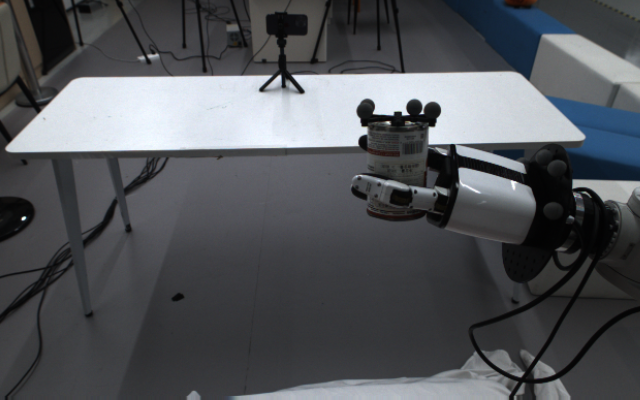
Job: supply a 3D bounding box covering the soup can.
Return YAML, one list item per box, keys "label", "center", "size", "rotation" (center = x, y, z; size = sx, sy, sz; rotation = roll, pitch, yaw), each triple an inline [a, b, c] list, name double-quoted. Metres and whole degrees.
- label: "soup can"
  center: [0.088, -0.035, 0.536]
  size: [0.067, 0.101, 0.067]
  rotation: [-1, 17, 0]
